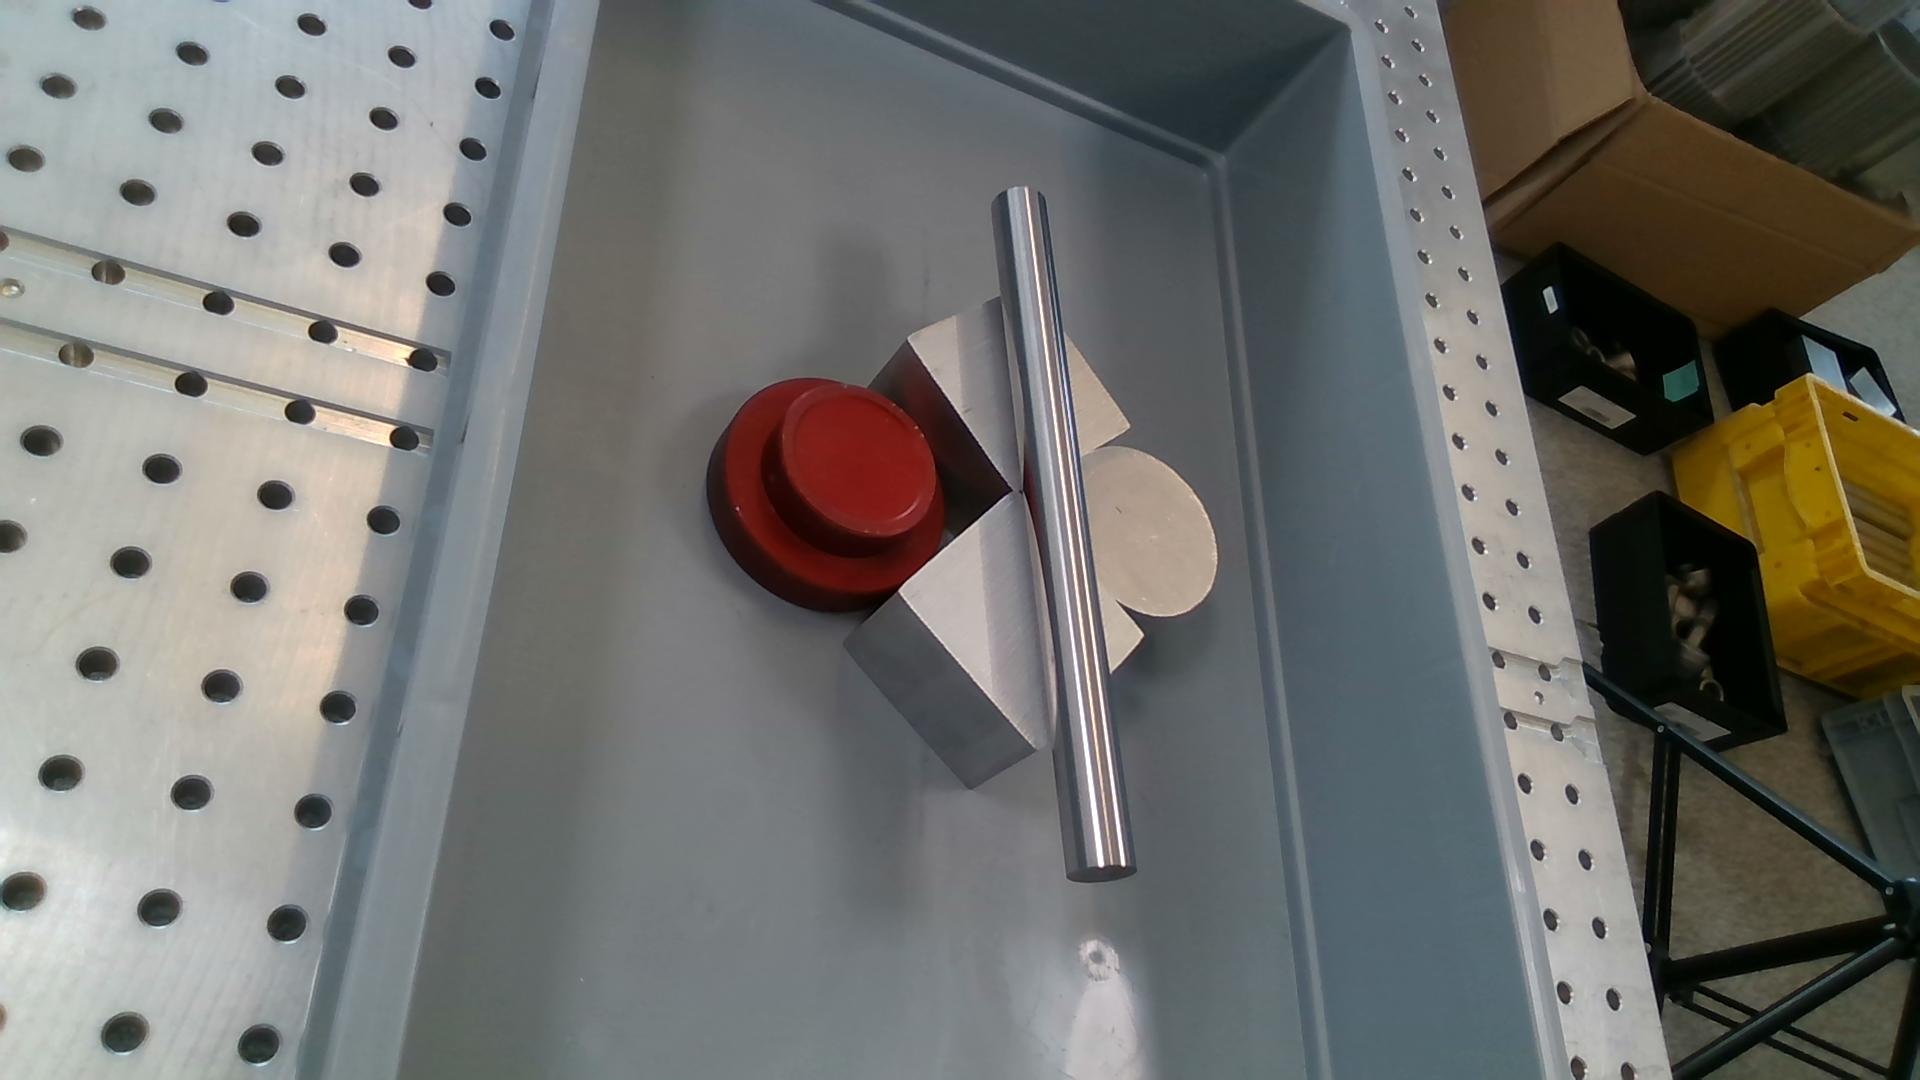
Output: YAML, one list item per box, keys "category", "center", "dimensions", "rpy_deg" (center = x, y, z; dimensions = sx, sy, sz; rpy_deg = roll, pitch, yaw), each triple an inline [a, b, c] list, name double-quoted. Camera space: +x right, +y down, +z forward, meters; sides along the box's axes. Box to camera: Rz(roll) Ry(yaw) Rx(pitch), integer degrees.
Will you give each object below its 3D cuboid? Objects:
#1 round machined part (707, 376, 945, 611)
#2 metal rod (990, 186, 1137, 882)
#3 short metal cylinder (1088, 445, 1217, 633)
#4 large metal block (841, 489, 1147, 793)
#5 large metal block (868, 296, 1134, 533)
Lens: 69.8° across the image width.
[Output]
- category: "round machined part"
  center: [-0.049, -0.024, 0.556]
  dimensions: [0.098, 0.042, 0.098]
  rpy_deg: [14, 59, -25]
- category: "metal rod"
  center: [0.038, -0.016, 0.550]
  dimensions: [0.025, 0.025, 0.299]
  rpy_deg: [10, 60, -27]
- category: "short metal cylinder"
  center: [0.066, 0.006, 0.606]
  dimensions: [0.080, 0.050, 0.080]
  rpy_deg: [14, 59, -25]
- category: "large metal block"
  center: [0.014, 0.040, 0.553]
  dimensions: [0.080, 0.050, 0.080]
  rpy_deg: [49, 51, 1]
- category: "large metal block"
  center: [0.016, -0.057, 0.609]
  dimensions: [0.080, 0.050, 0.080]
  rpy_deg: [-30, 83, -37]
